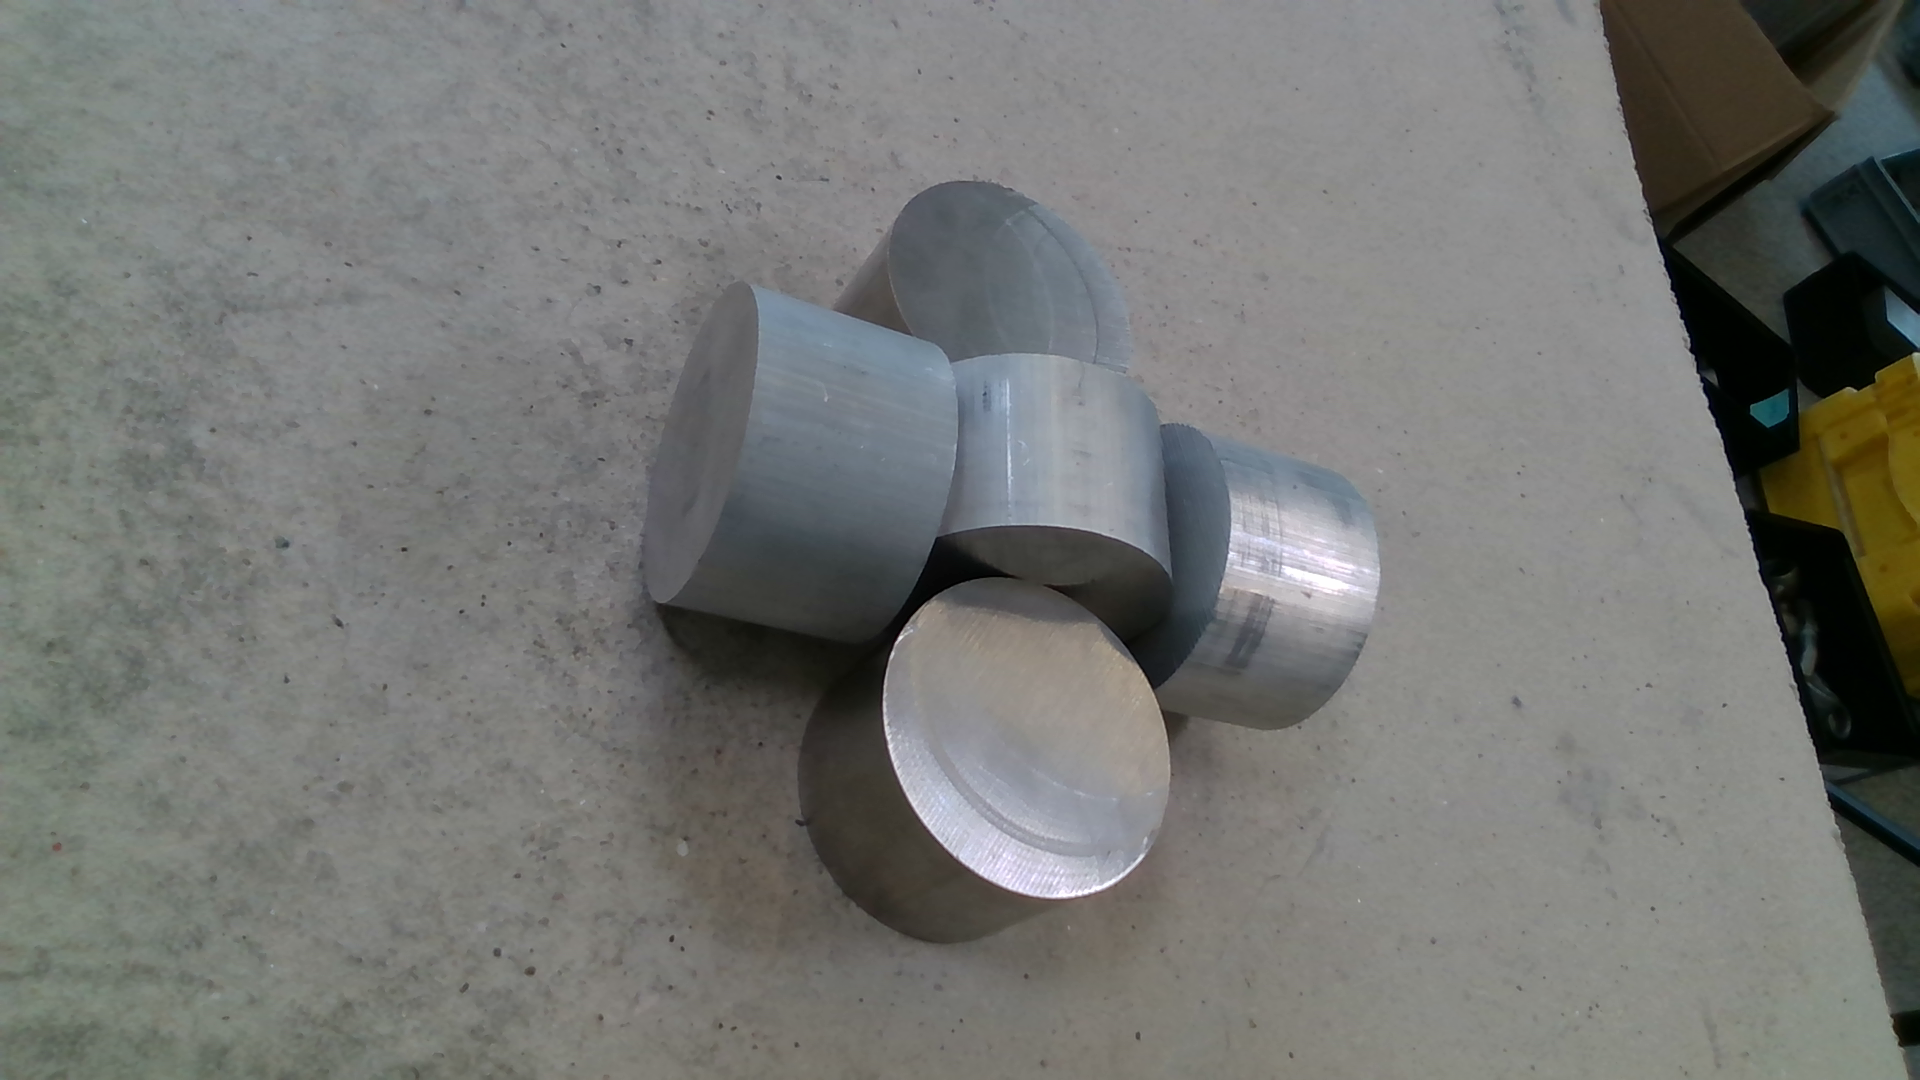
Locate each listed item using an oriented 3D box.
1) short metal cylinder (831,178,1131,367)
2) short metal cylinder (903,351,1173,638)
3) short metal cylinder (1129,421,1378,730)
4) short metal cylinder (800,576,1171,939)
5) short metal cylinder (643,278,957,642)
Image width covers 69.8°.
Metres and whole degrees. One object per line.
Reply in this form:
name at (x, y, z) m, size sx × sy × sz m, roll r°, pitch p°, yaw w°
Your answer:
short metal cylinder at (0.004, -0.059, 0.411) m, size 0.080 × 0.050 × 0.080 m, roll 14°, pitch 59°, yaw -25°
short metal cylinder at (0.015, -0.007, 0.372) m, size 0.080 × 0.080 × 0.050 m, roll 15°, pitch 58°, yaw -25°
short metal cylinder at (0.073, 0.011, 0.398) m, size 0.050 × 0.080 × 0.080 m, roll 14°, pitch 59°, yaw -25°
short metal cylinder at (0.006, 0.056, 0.351) m, size 0.080 × 0.050 × 0.080 m, roll 14°, pitch 58°, yaw -25°
short metal cylinder at (-0.042, -0.019, 0.343) m, size 0.050 × 0.080 × 0.080 m, roll 14°, pitch 59°, yaw -25°
